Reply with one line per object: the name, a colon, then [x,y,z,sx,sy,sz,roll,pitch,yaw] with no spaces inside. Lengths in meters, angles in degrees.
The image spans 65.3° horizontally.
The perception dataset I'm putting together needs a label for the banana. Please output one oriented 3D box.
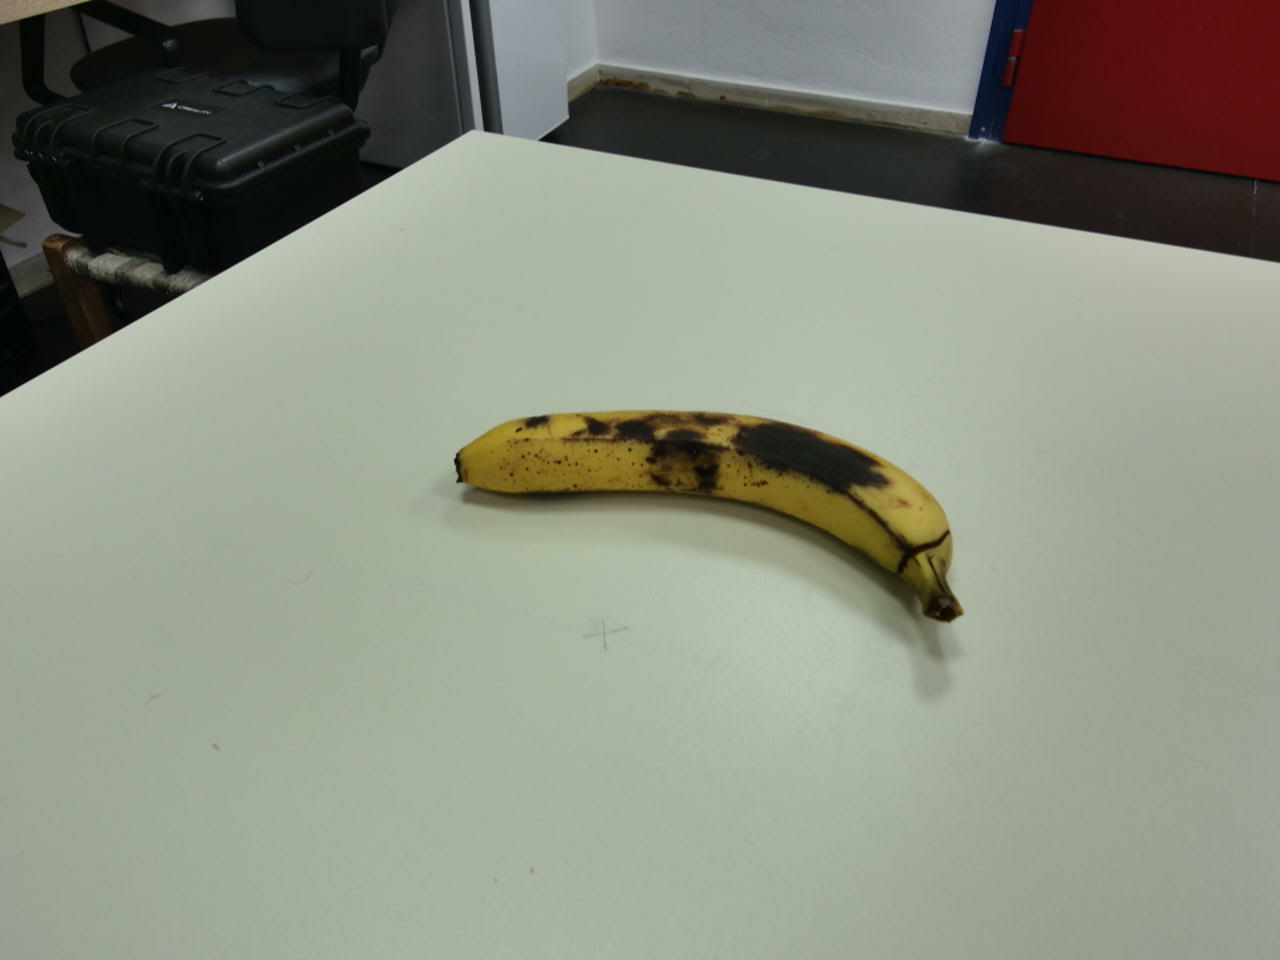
banana: [0.033,0.000,0.427,0.222,0.037,0.084,17,41,22]
